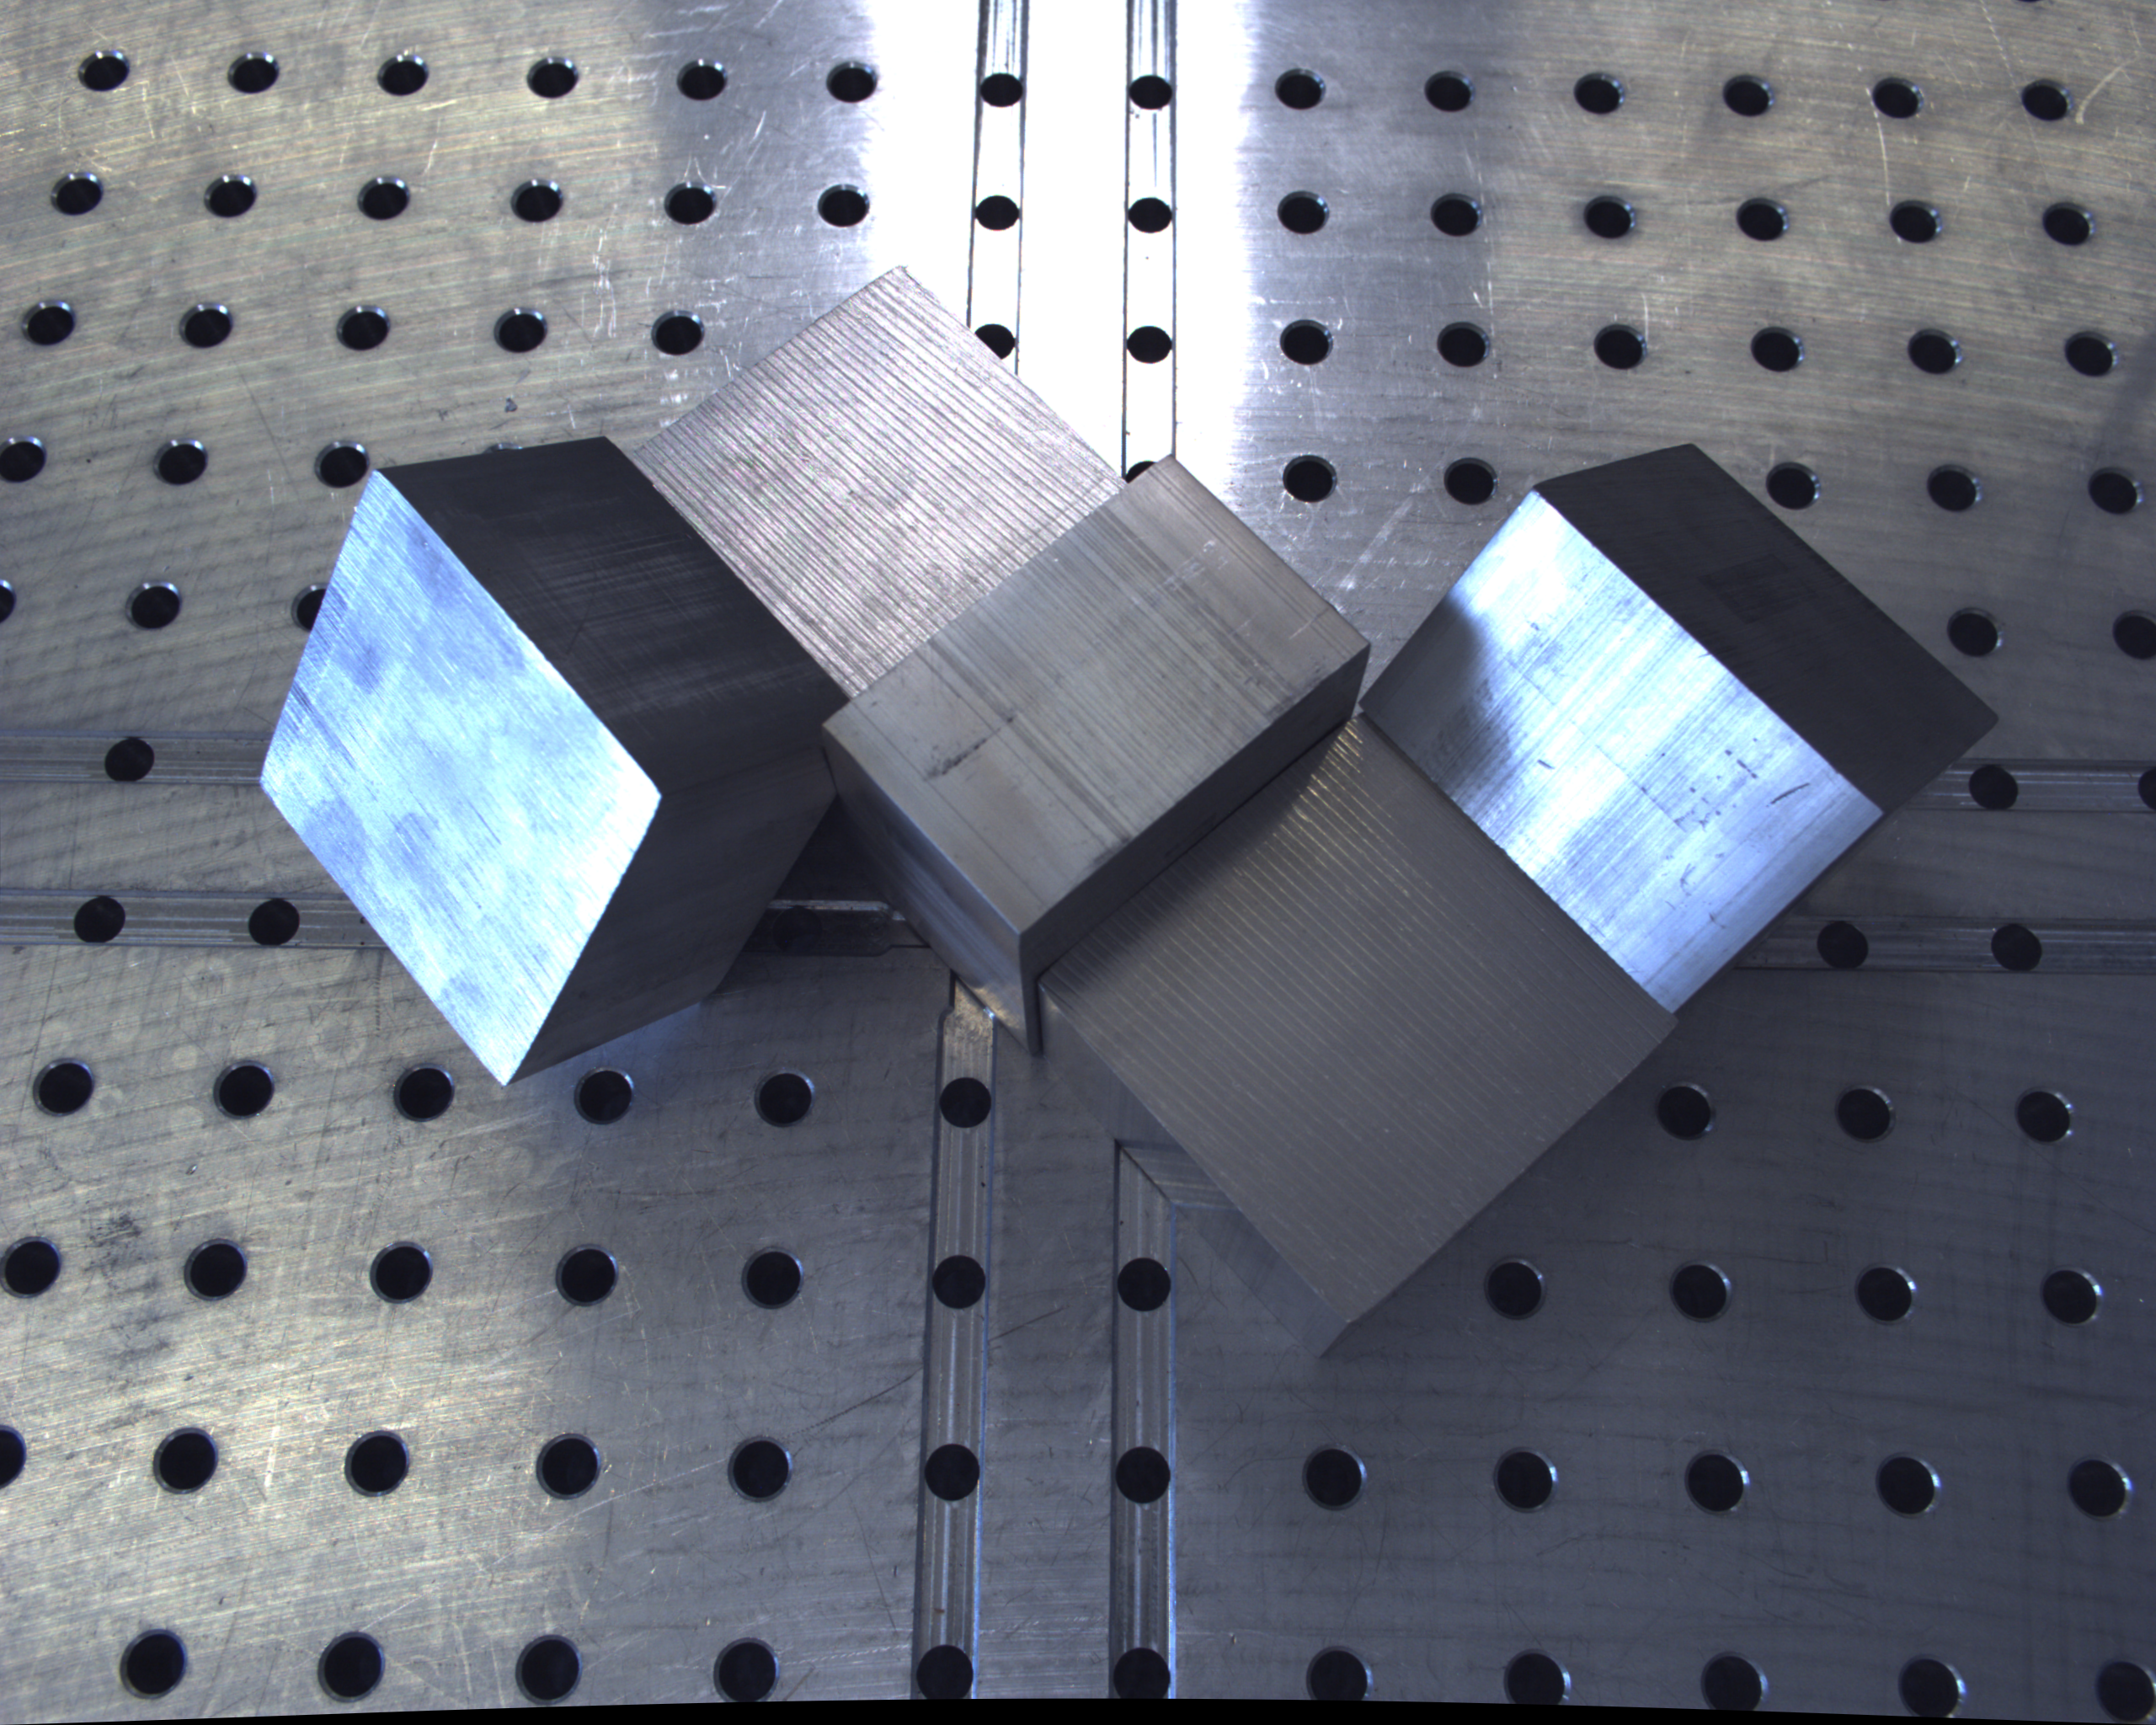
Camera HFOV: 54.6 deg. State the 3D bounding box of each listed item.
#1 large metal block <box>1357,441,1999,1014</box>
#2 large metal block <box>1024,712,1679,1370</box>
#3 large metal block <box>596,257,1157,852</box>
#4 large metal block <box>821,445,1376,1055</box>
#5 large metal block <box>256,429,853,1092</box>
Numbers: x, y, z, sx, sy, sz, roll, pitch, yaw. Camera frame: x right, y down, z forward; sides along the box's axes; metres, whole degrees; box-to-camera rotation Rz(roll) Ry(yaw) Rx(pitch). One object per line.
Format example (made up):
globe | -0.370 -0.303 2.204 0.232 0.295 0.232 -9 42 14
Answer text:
large metal block | 0.112 -0.029 0.387 0.080 0.050 0.081 47 37 14
large metal block | 0.048 0.034 0.386 0.080 0.050 0.080 -39 73 -13
large metal block | -0.039 -0.059 0.420 0.080 0.050 0.080 -40 76 -12
large metal block | 0.003 -0.018 0.389 0.080 0.080 0.050 -40 76 -13
large metal block | -0.096 -0.020 0.382 0.080 0.080 0.050 47 38 15
